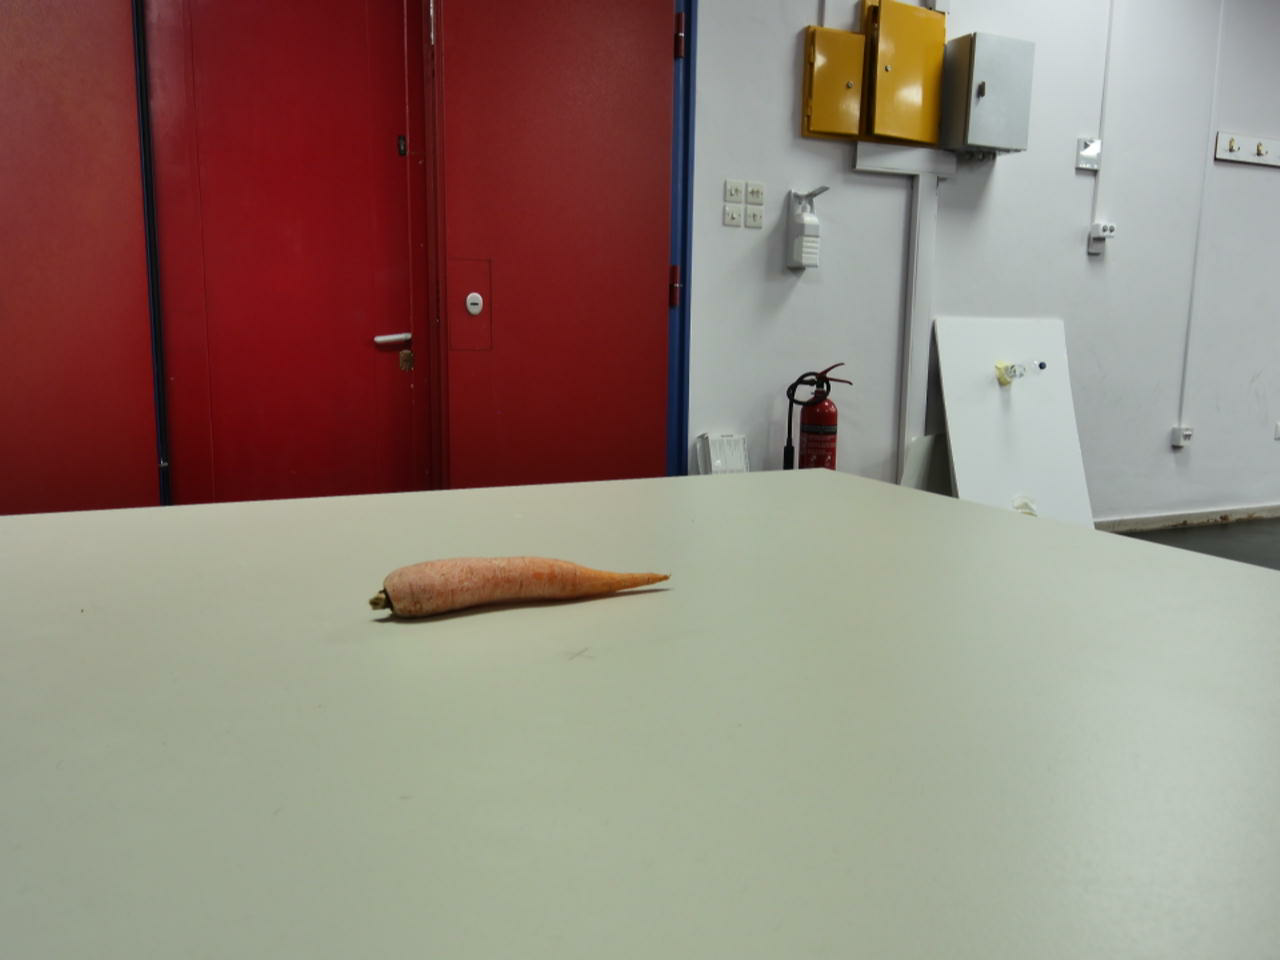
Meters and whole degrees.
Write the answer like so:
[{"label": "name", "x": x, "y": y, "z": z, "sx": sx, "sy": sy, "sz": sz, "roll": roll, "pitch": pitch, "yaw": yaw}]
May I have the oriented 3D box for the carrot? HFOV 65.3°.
[{"label": "carrot", "x": -0.059, "y": 0.053, "z": 0.537, "sx": 0.163, "sy": 0.029, "sz": 0.031, "roll": -3, "pitch": 8, "yaw": -24}]
